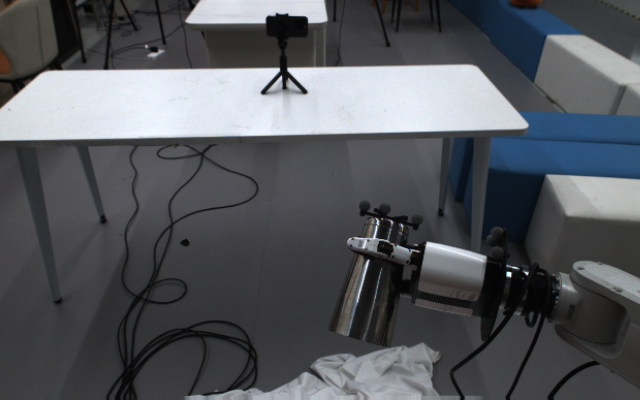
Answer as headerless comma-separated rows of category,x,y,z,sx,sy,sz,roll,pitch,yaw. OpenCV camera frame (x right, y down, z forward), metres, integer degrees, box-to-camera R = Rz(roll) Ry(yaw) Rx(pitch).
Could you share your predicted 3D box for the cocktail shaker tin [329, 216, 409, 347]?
cocktail shaker tin,0.080,0.112,0.699,0.093,0.093,0.170,13,77,15
